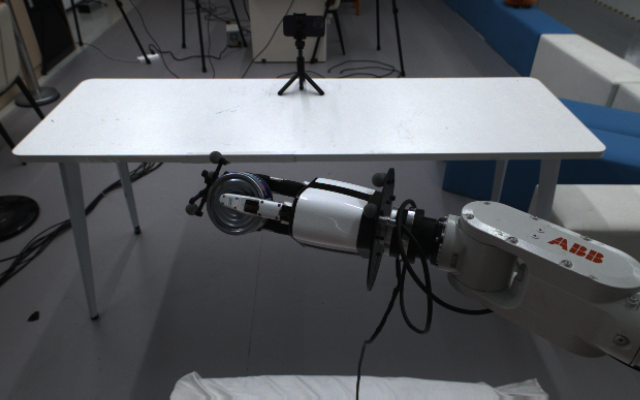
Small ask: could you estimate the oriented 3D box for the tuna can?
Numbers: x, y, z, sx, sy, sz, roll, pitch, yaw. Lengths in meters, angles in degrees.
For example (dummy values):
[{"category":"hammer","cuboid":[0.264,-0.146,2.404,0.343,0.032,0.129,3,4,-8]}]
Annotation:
[{"category":"tuna can","cuboid":[-0.106,0.007,0.653,0.085,0.085,0.034,8,6,9]}]
